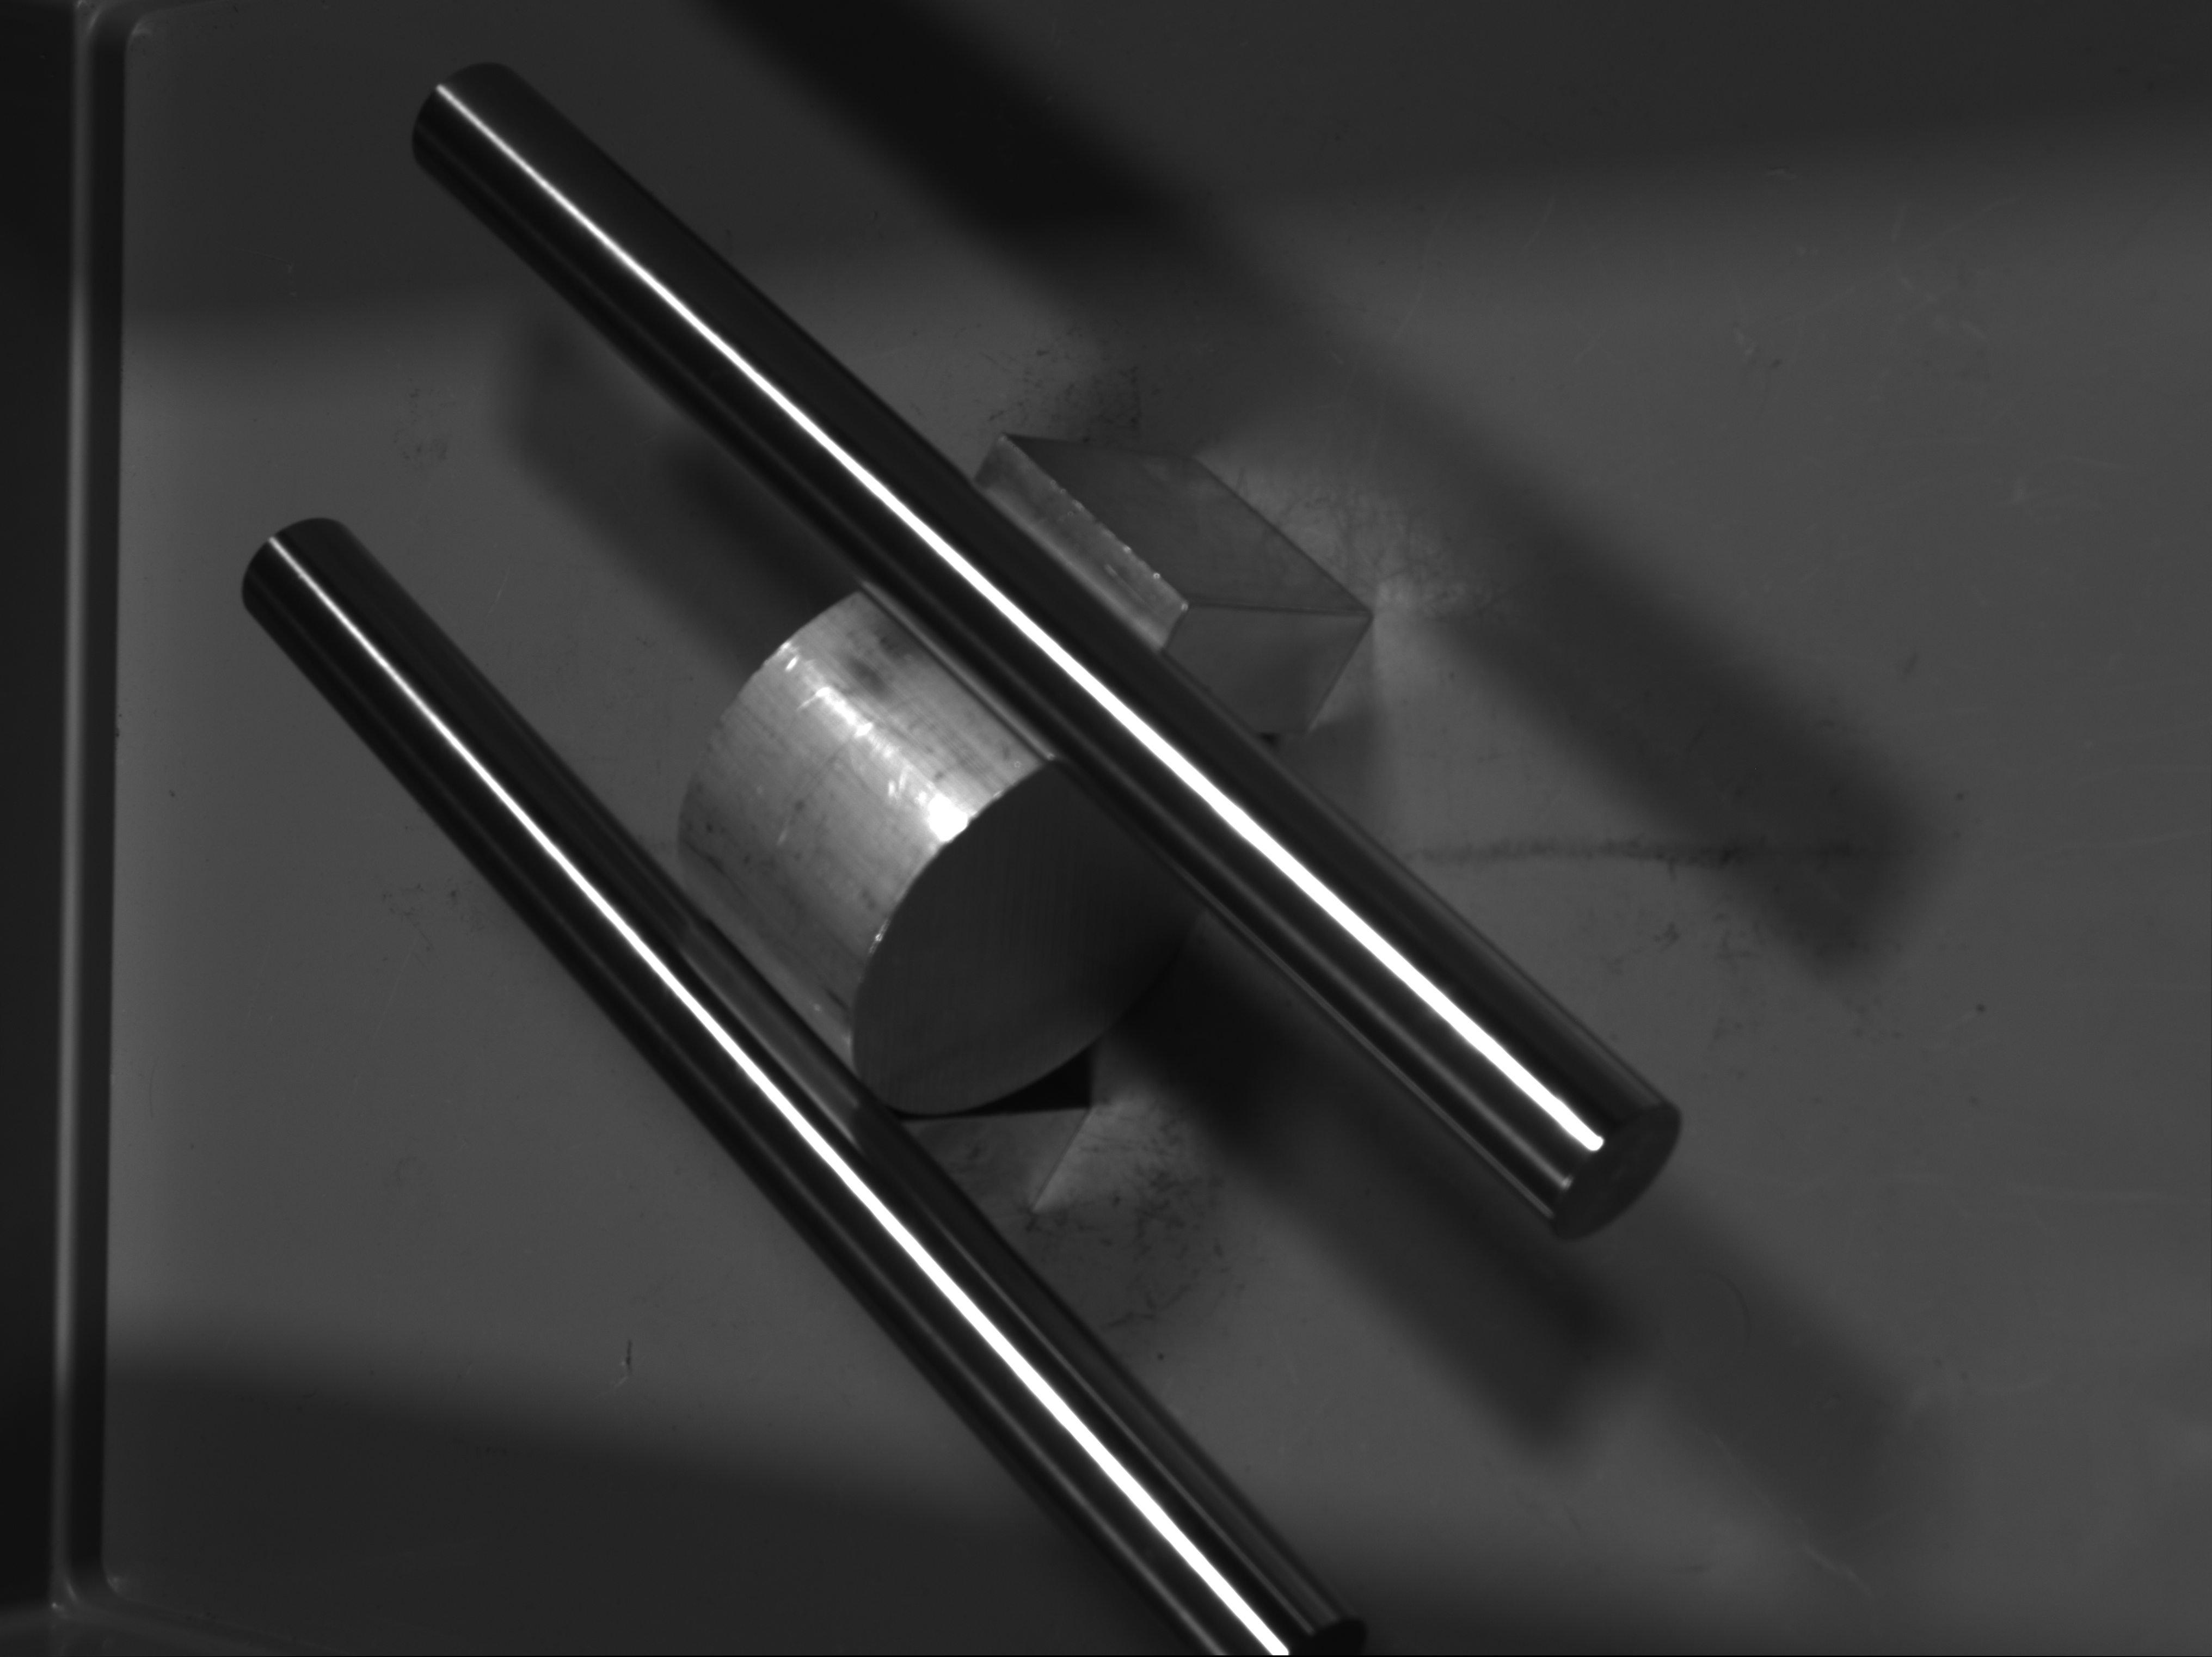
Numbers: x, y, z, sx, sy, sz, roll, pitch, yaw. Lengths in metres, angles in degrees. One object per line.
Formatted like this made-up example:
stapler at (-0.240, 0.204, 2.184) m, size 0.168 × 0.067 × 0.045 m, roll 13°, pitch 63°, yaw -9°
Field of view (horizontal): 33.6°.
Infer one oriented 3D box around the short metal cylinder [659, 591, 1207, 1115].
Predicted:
short metal cylinder at (-0.029, 0.002, 0.623) m, size 0.050 × 0.080 × 0.080 m, roll 44°, pitch 116°, yaw 31°

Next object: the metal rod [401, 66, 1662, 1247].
metal rod at (-0.024, -0.039, 0.591) m, size 0.299 × 0.025 × 0.025 m, roll 43°, pitch 116°, yaw 31°

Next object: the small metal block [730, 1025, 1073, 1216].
small metal block at (-0.043, 0.045, 0.654) m, size 0.050 × 0.050 × 0.025 m, roll 44°, pitch 116°, yaw 31°

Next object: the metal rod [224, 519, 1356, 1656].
metal rod at (-0.065, 0.039, 0.625) m, size 0.299 × 0.025 × 0.025 m, roll 44°, pitch 116°, yaw 31°

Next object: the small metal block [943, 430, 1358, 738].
small metal block at (0.005, -0.041, 0.614) m, size 0.050 × 0.050 × 0.025 m, roll 44°, pitch 116°, yaw 31°
